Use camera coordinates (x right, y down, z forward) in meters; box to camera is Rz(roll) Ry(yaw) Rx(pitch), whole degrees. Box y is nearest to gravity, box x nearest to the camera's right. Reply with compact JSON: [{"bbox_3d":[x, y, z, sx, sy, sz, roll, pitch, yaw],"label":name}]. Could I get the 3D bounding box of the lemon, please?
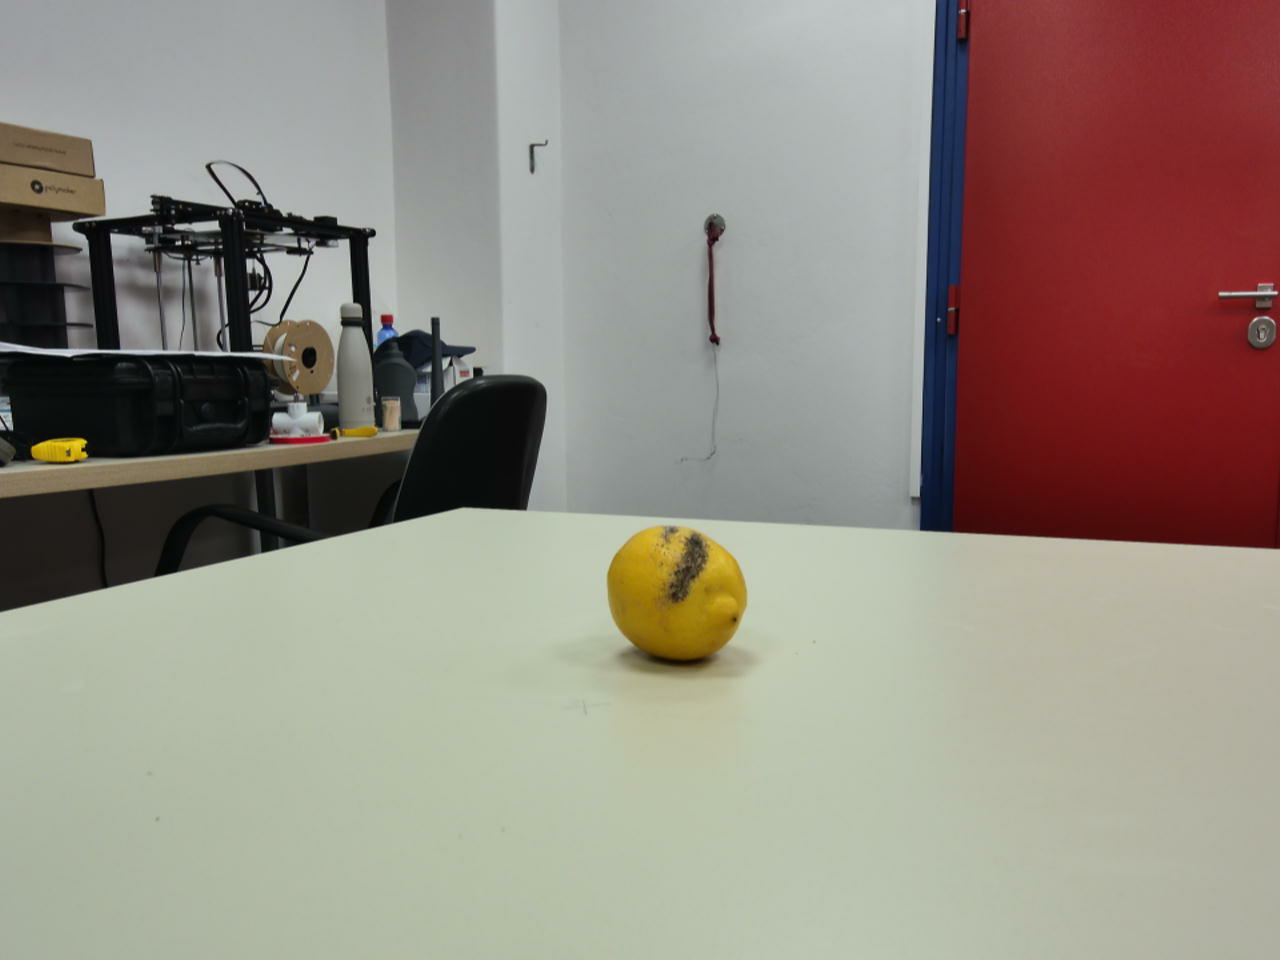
[{"bbox_3d":[0.016,0.049,0.432,0.061,0.056,0.058,2,4,17],"label":"lemon"}]
